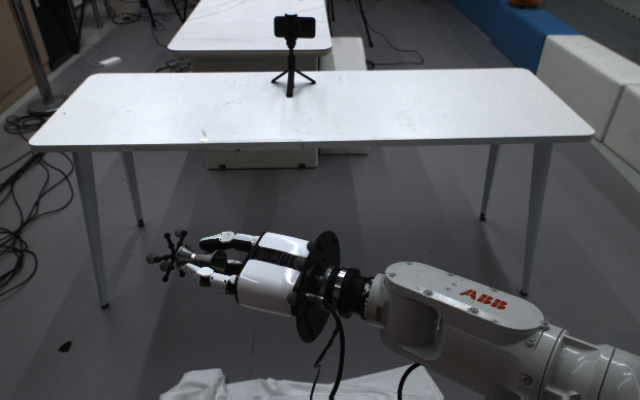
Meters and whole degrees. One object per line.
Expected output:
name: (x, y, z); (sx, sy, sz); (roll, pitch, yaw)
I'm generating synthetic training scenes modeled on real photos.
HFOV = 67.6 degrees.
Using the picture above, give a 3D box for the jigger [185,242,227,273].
jigger: (-0.178, 0.088, 0.757); (0.071, 0.043, 0.043); (5, 33, 23)
